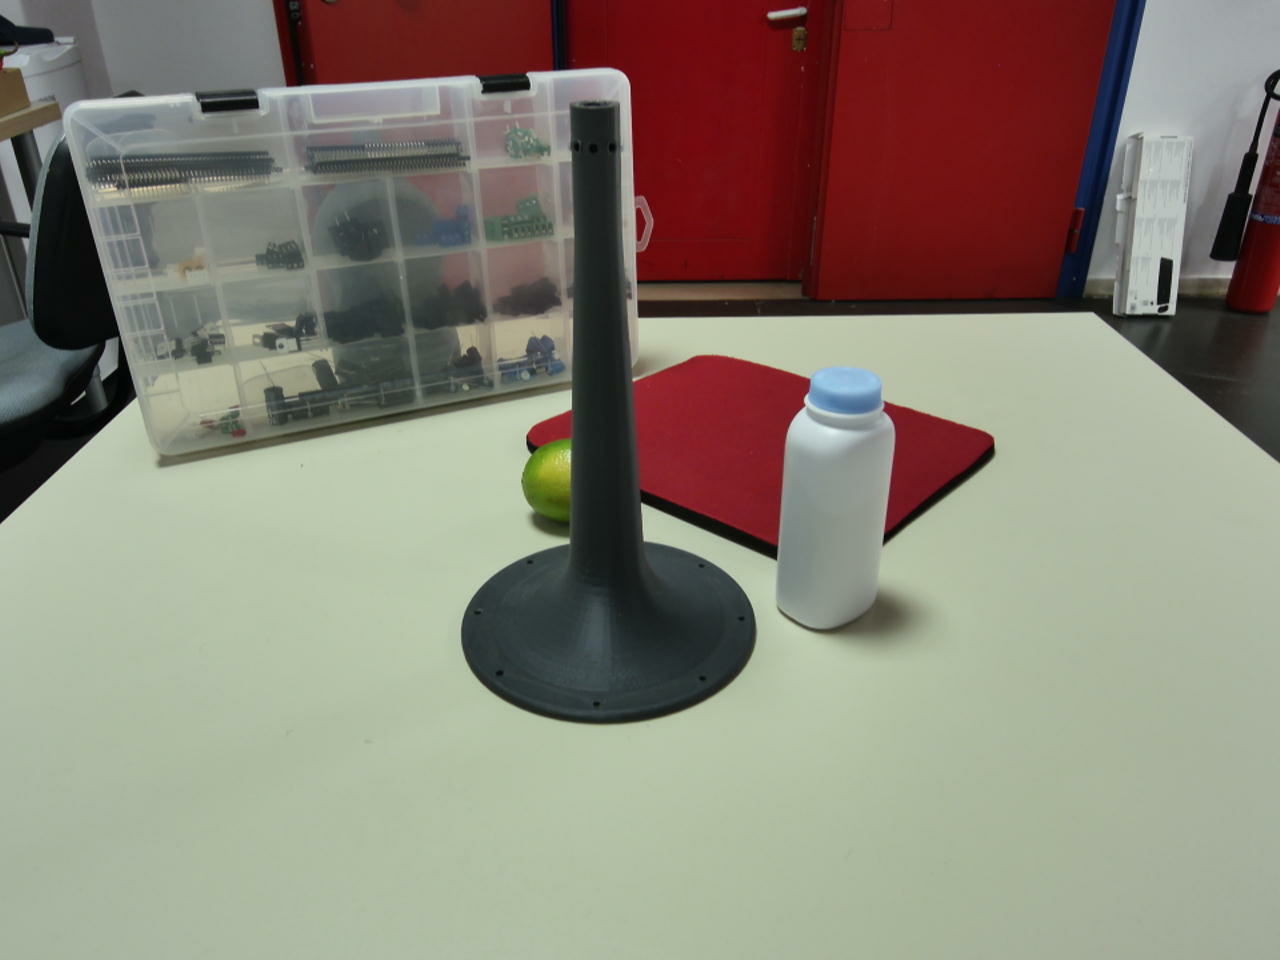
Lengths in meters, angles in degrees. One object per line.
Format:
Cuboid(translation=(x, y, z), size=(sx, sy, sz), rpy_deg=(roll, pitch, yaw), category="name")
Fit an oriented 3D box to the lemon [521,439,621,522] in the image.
Cuboid(translation=(-0.043, 0.001, 0.608), size=(0.054, 0.050, 0.055), rpy_deg=(-19, 33, -35), category="lemon")
